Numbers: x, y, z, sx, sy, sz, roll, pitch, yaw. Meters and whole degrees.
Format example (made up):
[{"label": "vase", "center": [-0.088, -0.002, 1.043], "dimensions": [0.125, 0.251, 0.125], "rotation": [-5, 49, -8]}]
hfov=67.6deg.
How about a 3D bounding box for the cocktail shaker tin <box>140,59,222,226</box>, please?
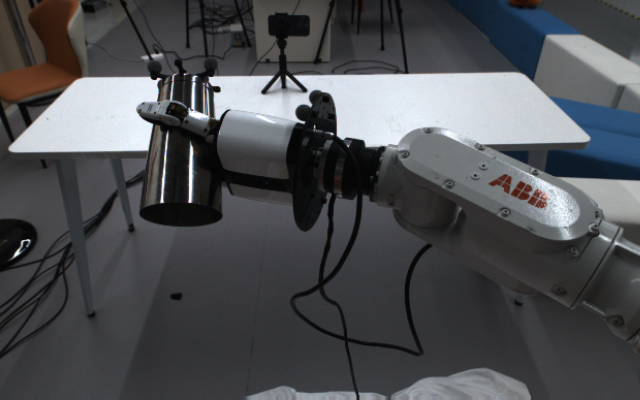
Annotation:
[{"label": "cocktail shaker tin", "center": [-0.163, -0.061, 0.581], "dimensions": [0.093, 0.093, 0.170], "rotation": [-2, 71, -6]}]
